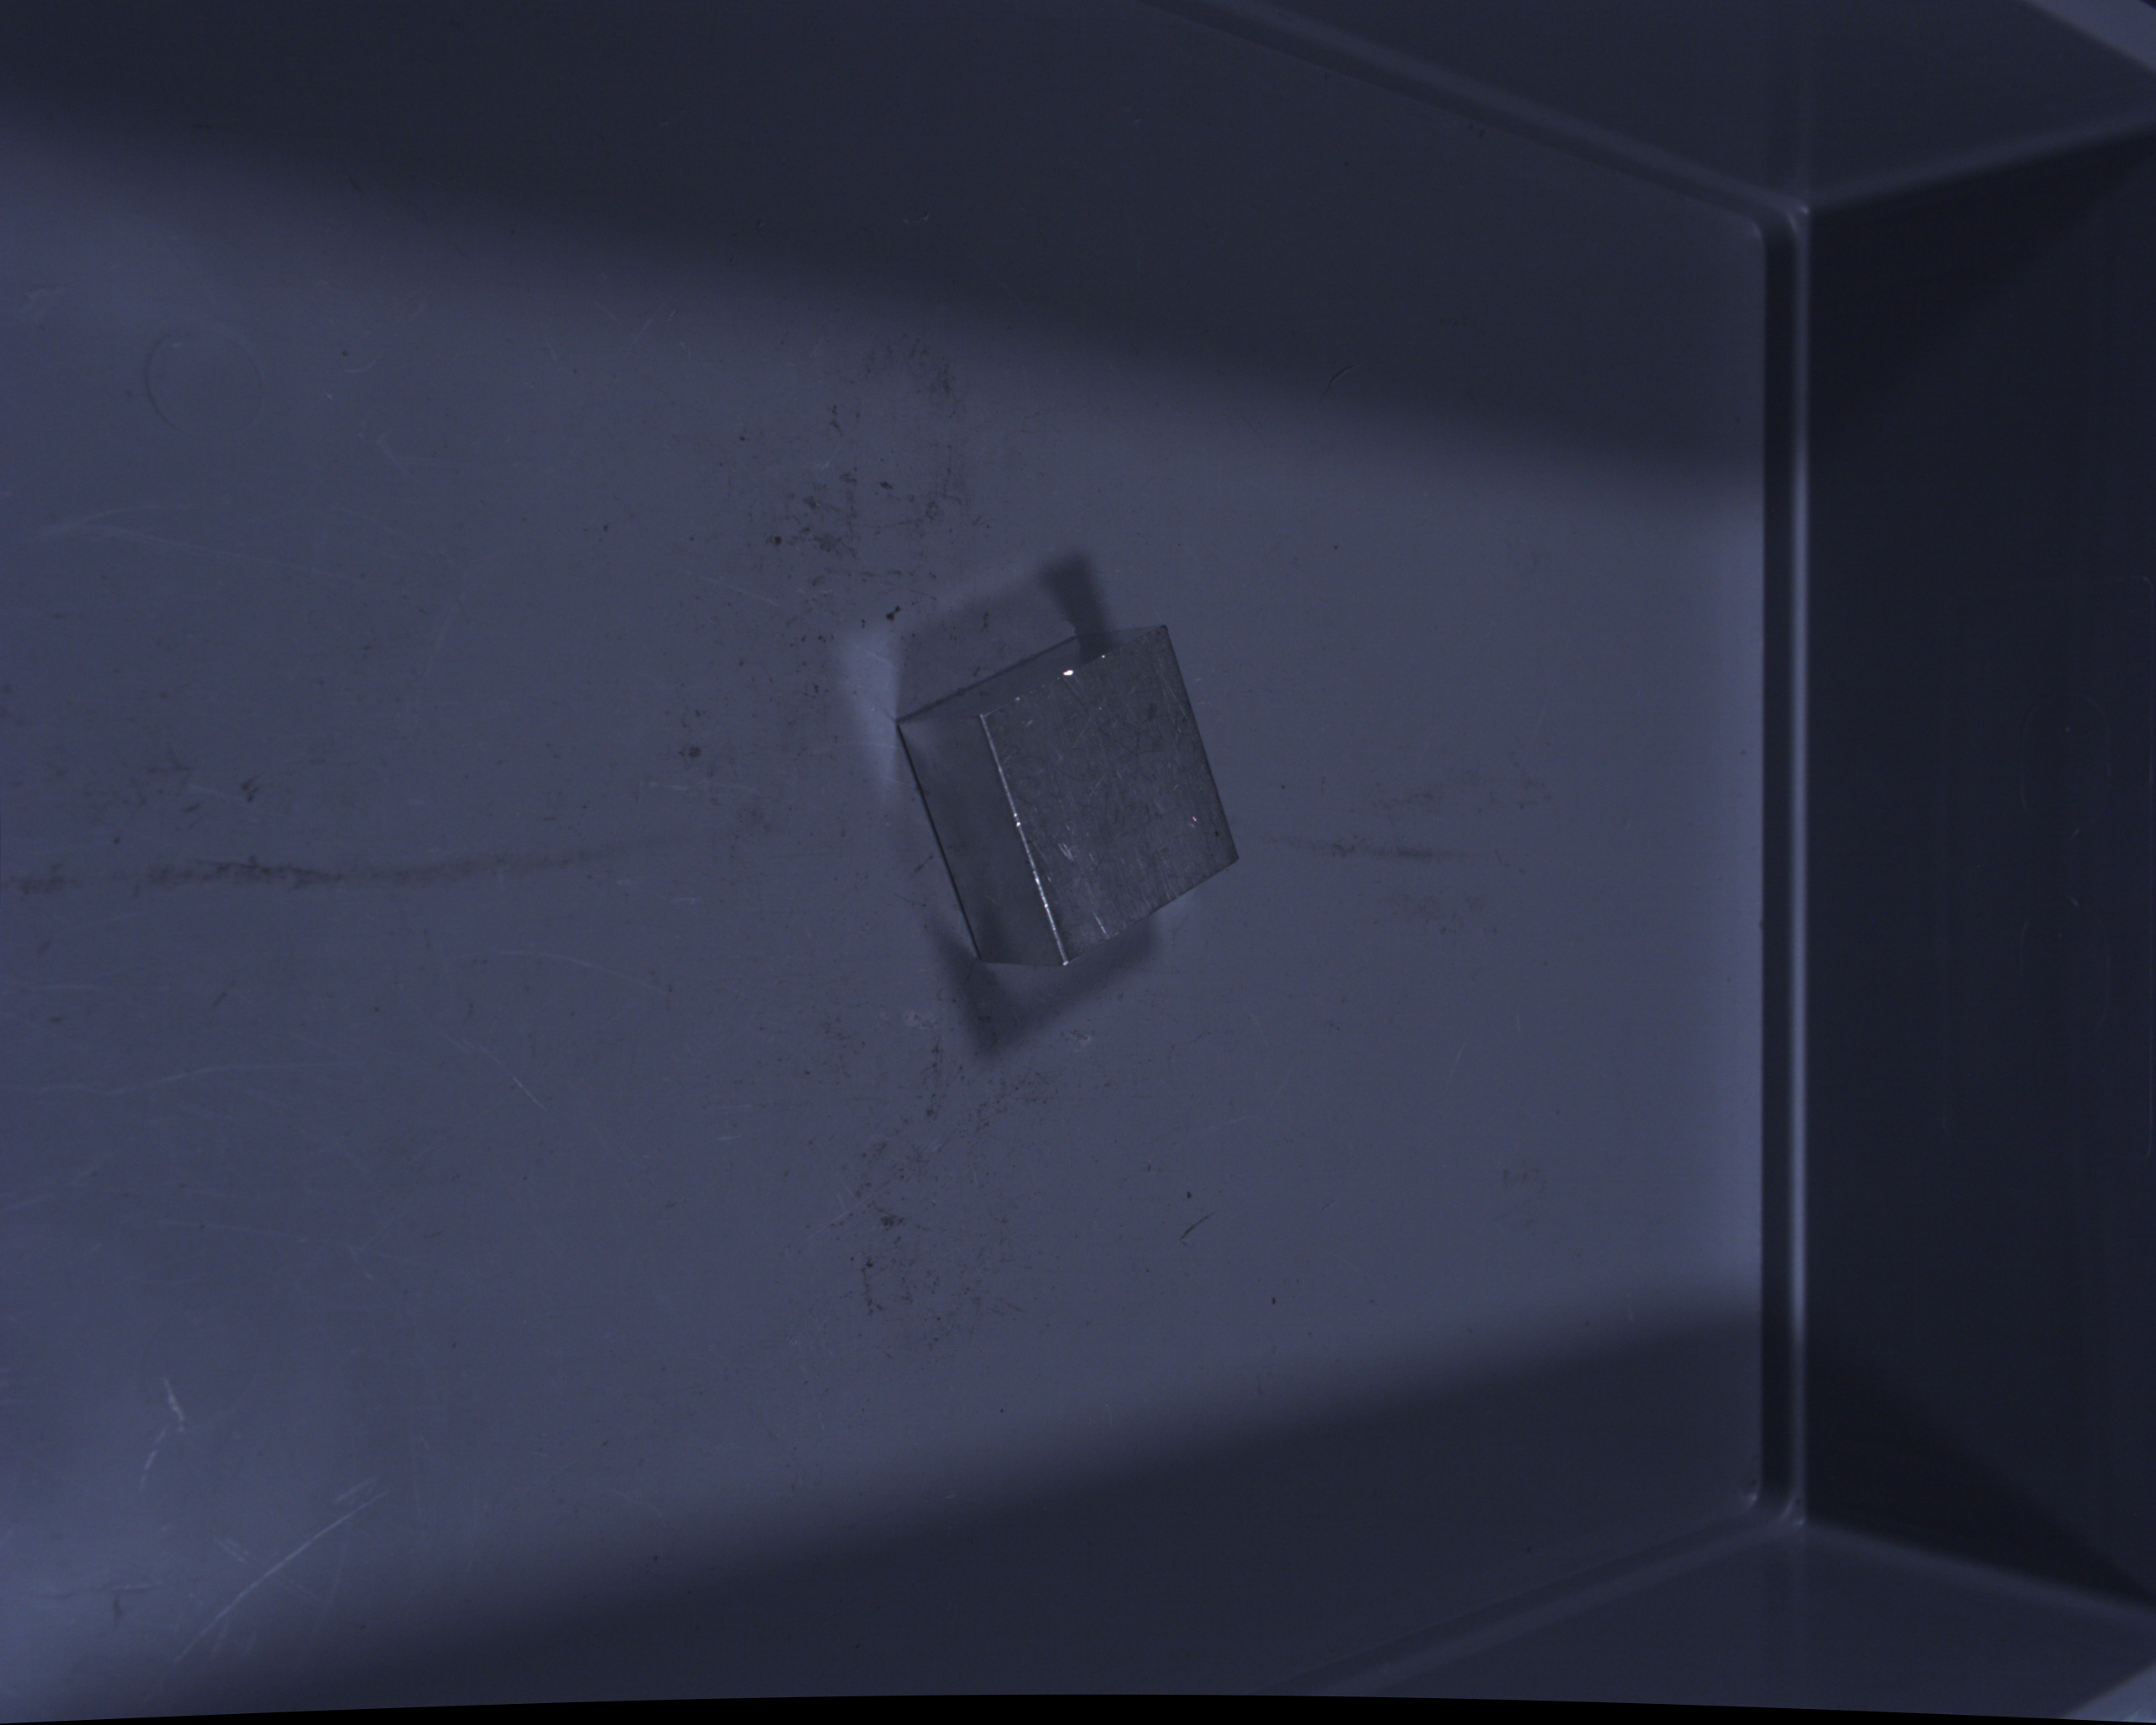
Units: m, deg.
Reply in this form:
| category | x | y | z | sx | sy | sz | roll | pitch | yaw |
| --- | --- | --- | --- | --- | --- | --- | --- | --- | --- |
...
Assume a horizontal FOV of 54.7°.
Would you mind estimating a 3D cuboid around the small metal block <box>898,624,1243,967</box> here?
| category | x | y | z | sx | sy | sz | roll | pitch | yaw |
| --- | --- | --- | --- | --- | --- | --- | --- | --- | --- |
| small metal block | -0.001 | -0.013 | 0.404 | 0.050 | 0.025 | 0.050 | -30 | 109 | -36 |
